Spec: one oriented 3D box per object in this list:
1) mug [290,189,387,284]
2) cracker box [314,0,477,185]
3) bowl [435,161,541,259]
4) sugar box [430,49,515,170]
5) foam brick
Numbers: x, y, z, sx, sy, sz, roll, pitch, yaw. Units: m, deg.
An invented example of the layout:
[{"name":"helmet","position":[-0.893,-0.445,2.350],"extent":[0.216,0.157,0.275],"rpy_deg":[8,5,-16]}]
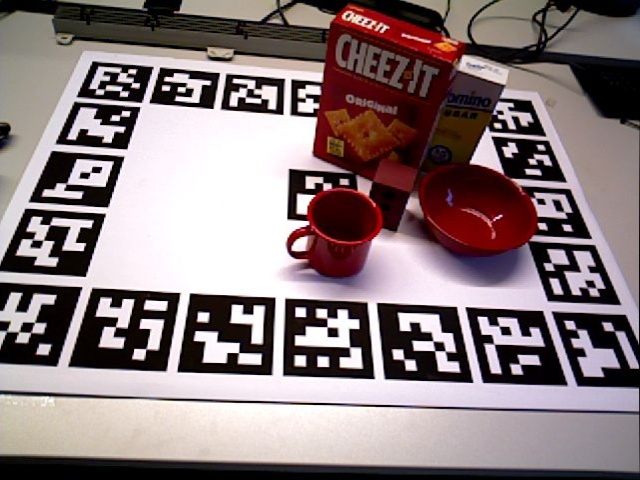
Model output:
[{"name":"mug","position":[0.021,-0.001,0.651],"extent":[0.116,0.083,0.092],"rpy_deg":[-4,43,-10]},{"name":"cracker box","position":[0.091,-0.184,0.731],"extent":[0.164,0.219,0.070],"rpy_deg":[27,49,13]},{"name":"bowl","position":[0.221,-0.030,0.712],"extent":[0.160,0.056,0.159],"rpy_deg":[4,51,-5]},{"name":"sugar box","position":[0.197,-0.175,0.762],"extent":[0.093,0.180,0.044],"rpy_deg":[20,50,8]},{"name":"foam brick","position":[0.099,-0.059,0.724],"extent":[0.052,0.080,0.050],"rpy_deg":[15,49,5]}]
